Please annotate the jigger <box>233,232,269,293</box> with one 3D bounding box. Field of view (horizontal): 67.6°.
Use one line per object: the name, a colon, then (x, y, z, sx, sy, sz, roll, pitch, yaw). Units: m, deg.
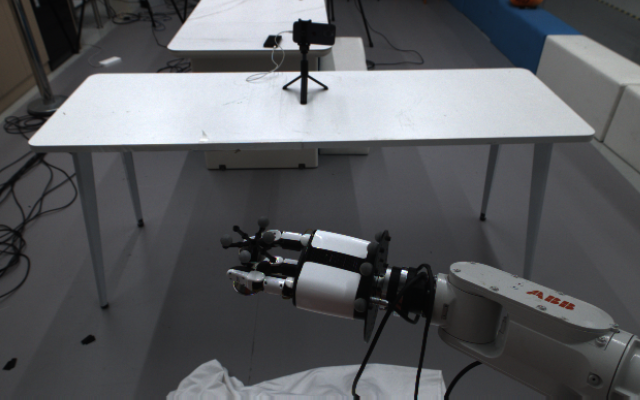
jigger: (-0.104, 0.102, 0.719, 0.043, 0.071, 0.043, 10, 36, -7)
